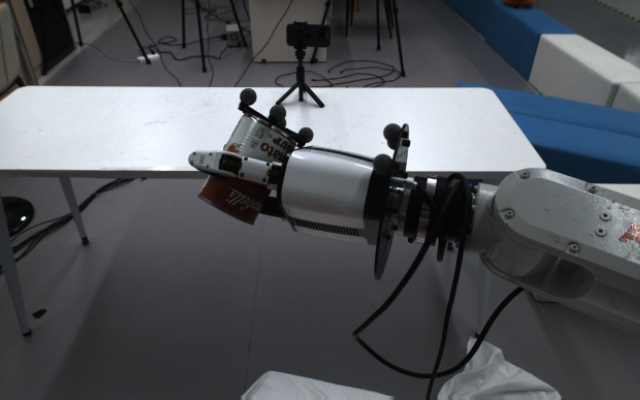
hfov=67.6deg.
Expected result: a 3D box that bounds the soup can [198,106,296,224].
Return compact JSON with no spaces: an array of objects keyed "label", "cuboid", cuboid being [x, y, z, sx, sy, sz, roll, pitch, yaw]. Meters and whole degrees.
[{"label":"soup can","cuboid":[-0.076,-0.032,0.520,0.067,0.101,0.067,28,-3,1]}]
